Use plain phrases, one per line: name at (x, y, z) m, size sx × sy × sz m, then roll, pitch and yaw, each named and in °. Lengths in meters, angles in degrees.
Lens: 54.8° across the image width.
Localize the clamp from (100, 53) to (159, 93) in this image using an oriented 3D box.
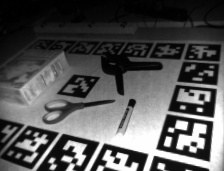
clamp at (0.024, -0.063, 0.697) m, size 0.166 × 0.037 × 0.200 m, roll -32°, pitch 42°, yaw -24°

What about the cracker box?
cracker box at (-0.278, -0.044, 0.716) m, size 0.162 × 0.072 × 0.214 m, roll 7°, pitch 42°, yaw 25°

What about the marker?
marker at (0.033, 0.063, 0.526) m, size 0.019 × 0.020 × 0.121 m, roll 4°, pitch 40°, yaw 22°

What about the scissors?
scissors at (-0.093, 0.048, 0.586) m, size 0.203 × 0.016 × 0.087 m, roll -11°, pitch 36°, yaw -1°
